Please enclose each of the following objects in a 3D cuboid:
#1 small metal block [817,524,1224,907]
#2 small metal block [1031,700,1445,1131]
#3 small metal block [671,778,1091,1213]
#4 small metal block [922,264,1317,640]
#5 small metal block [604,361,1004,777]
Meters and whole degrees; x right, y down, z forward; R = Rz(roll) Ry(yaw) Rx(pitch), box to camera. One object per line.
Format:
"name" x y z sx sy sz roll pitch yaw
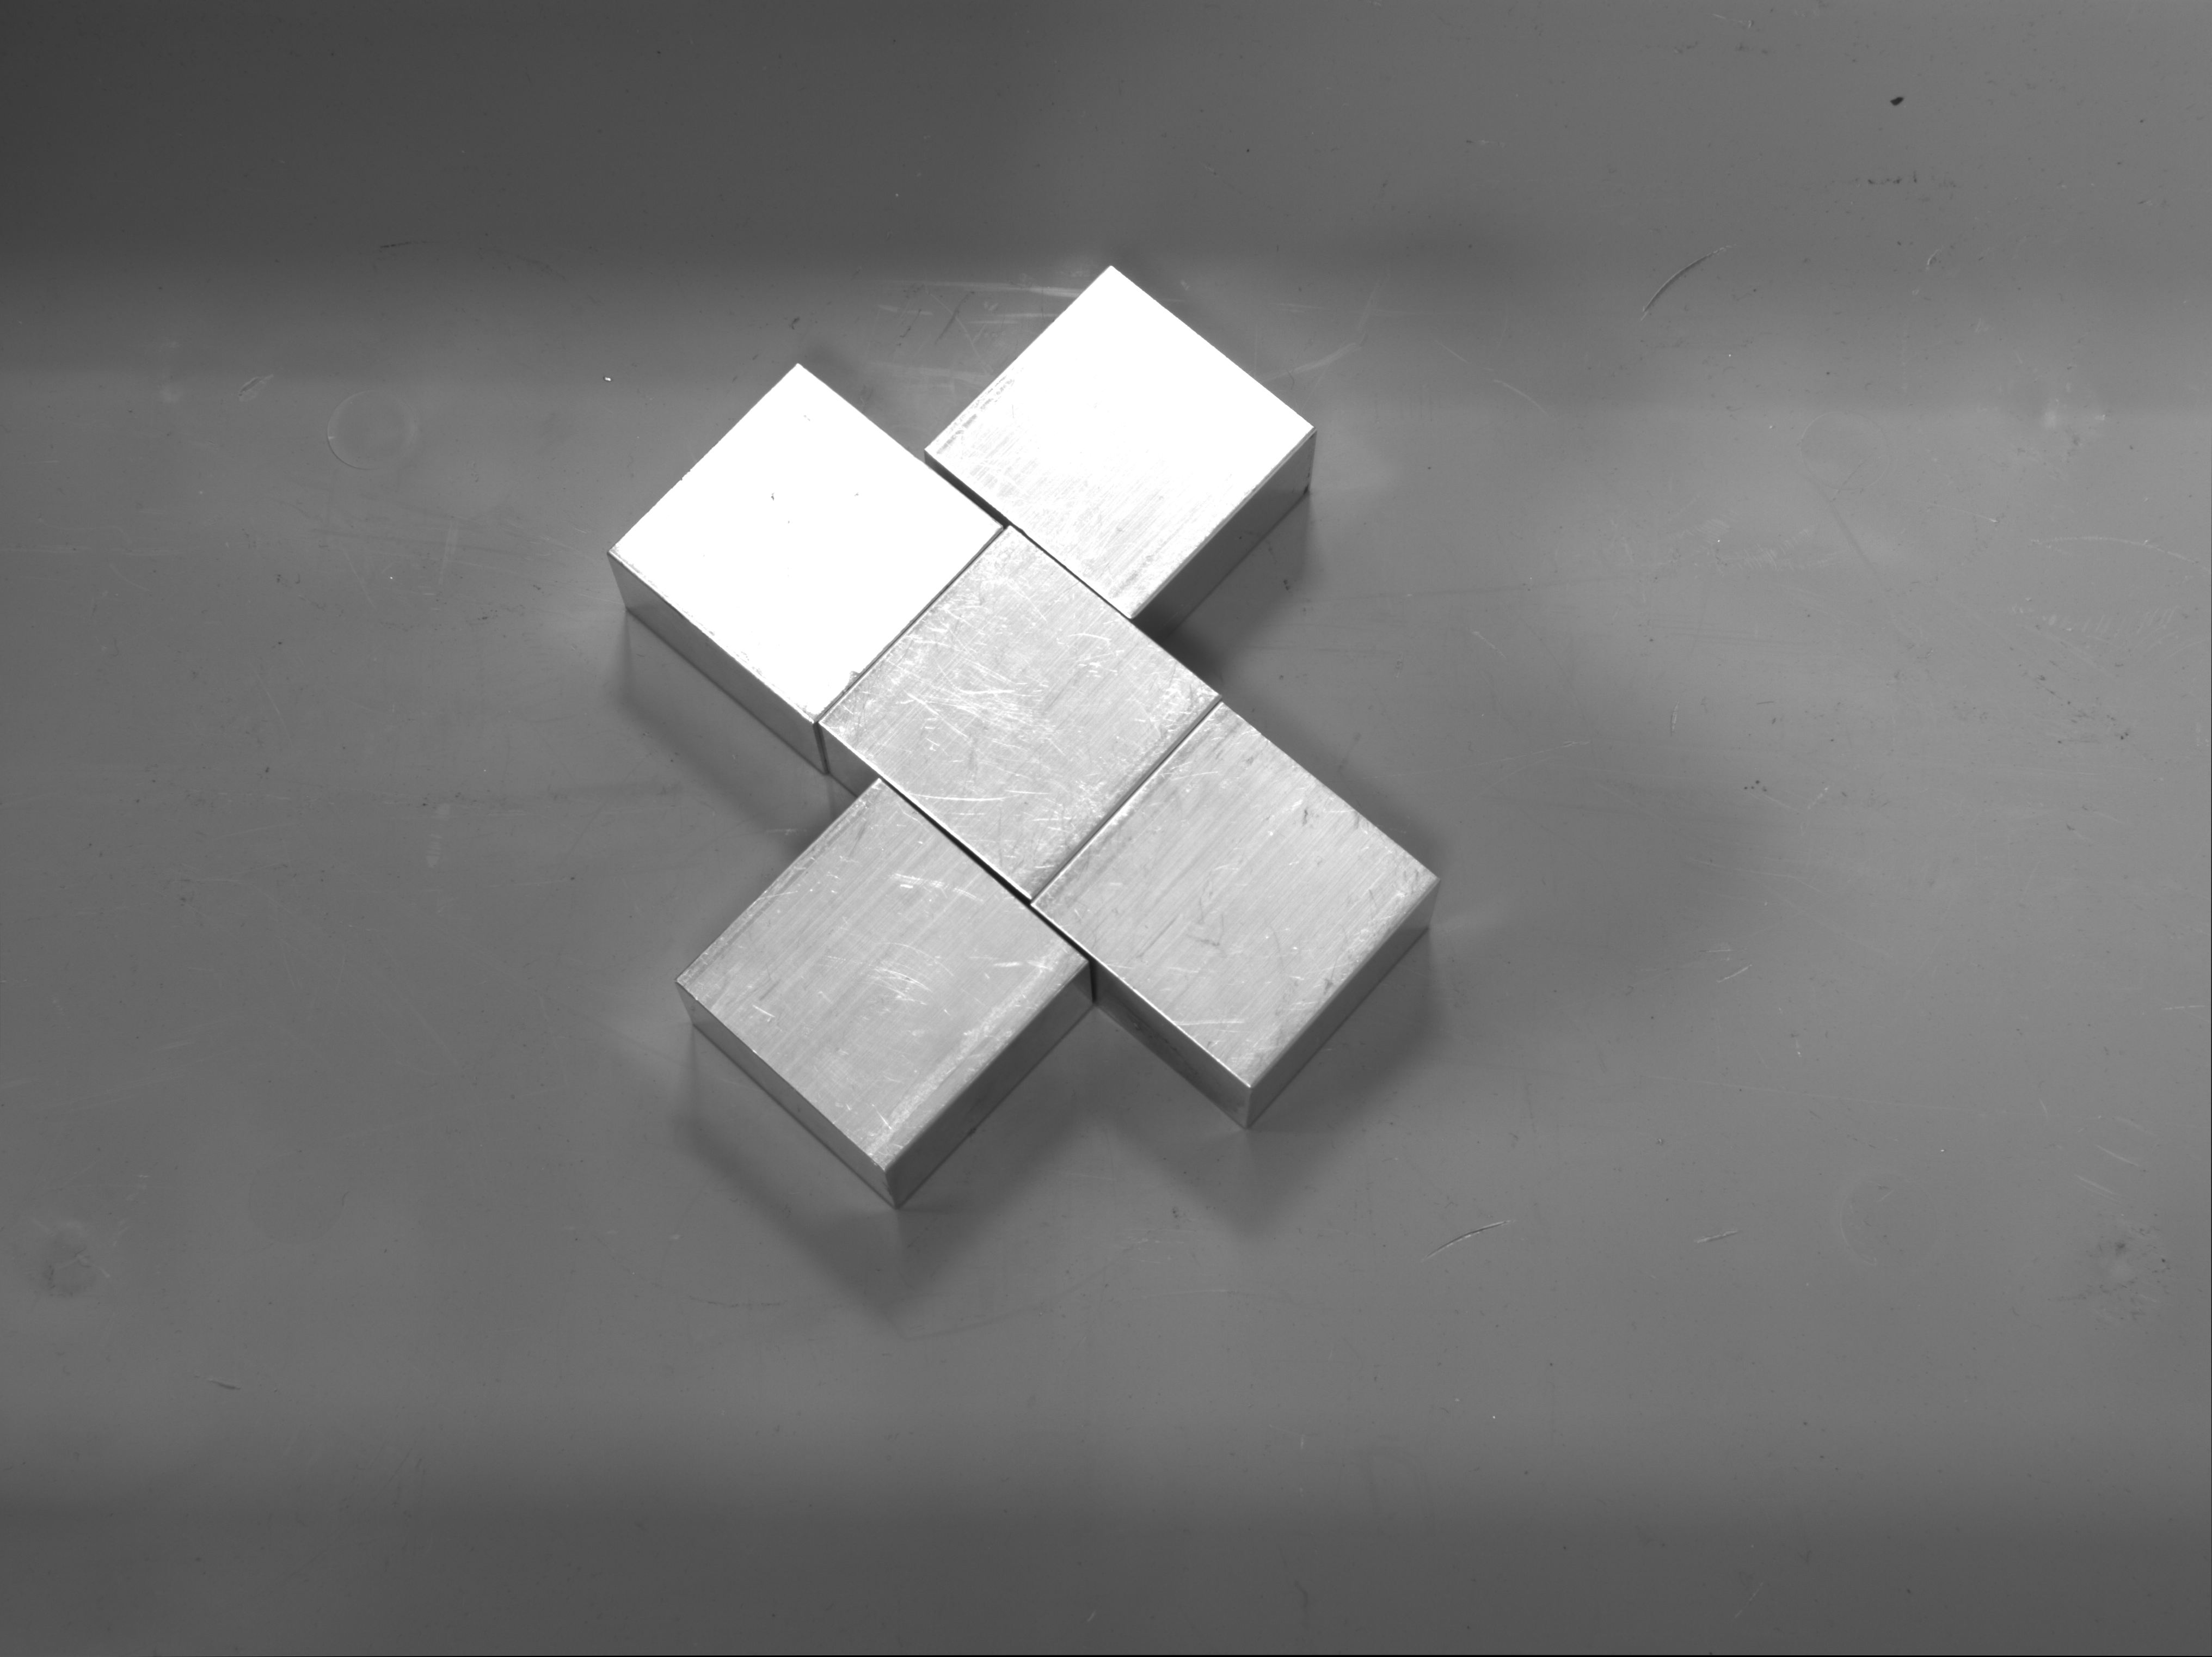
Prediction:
"small metal block" -0.015 -0.016 0.648 0.050 0.025 0.050 40 75 13
"small metal block" 0.023 0.015 0.637 0.050 0.025 0.050 40 75 13
"small metal block" -0.038 0.029 0.633 0.050 0.025 0.050 41 76 14
"small metal block" 0.002 -0.065 0.667 0.050 0.025 0.050 40 74 13
"small metal block" -0.053 -0.047 0.660 0.050 0.025 0.050 40 75 13
